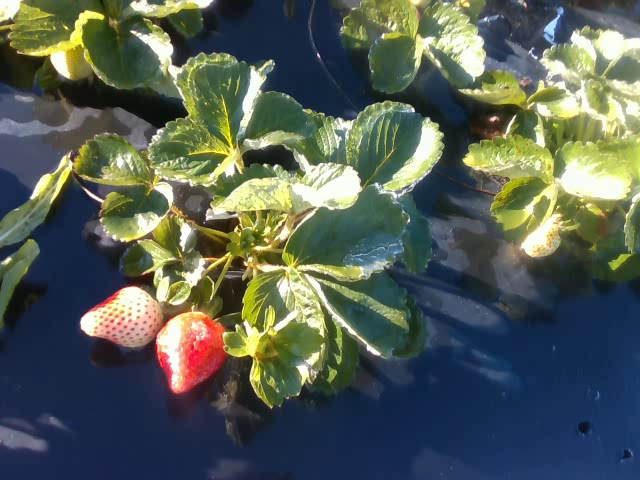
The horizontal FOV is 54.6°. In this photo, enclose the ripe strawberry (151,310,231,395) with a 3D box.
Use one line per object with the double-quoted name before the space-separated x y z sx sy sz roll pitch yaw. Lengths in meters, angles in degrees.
"ripe strawberry" -0.065 0.059 0.305 0.040 0.037 0.056 -12 16 10
